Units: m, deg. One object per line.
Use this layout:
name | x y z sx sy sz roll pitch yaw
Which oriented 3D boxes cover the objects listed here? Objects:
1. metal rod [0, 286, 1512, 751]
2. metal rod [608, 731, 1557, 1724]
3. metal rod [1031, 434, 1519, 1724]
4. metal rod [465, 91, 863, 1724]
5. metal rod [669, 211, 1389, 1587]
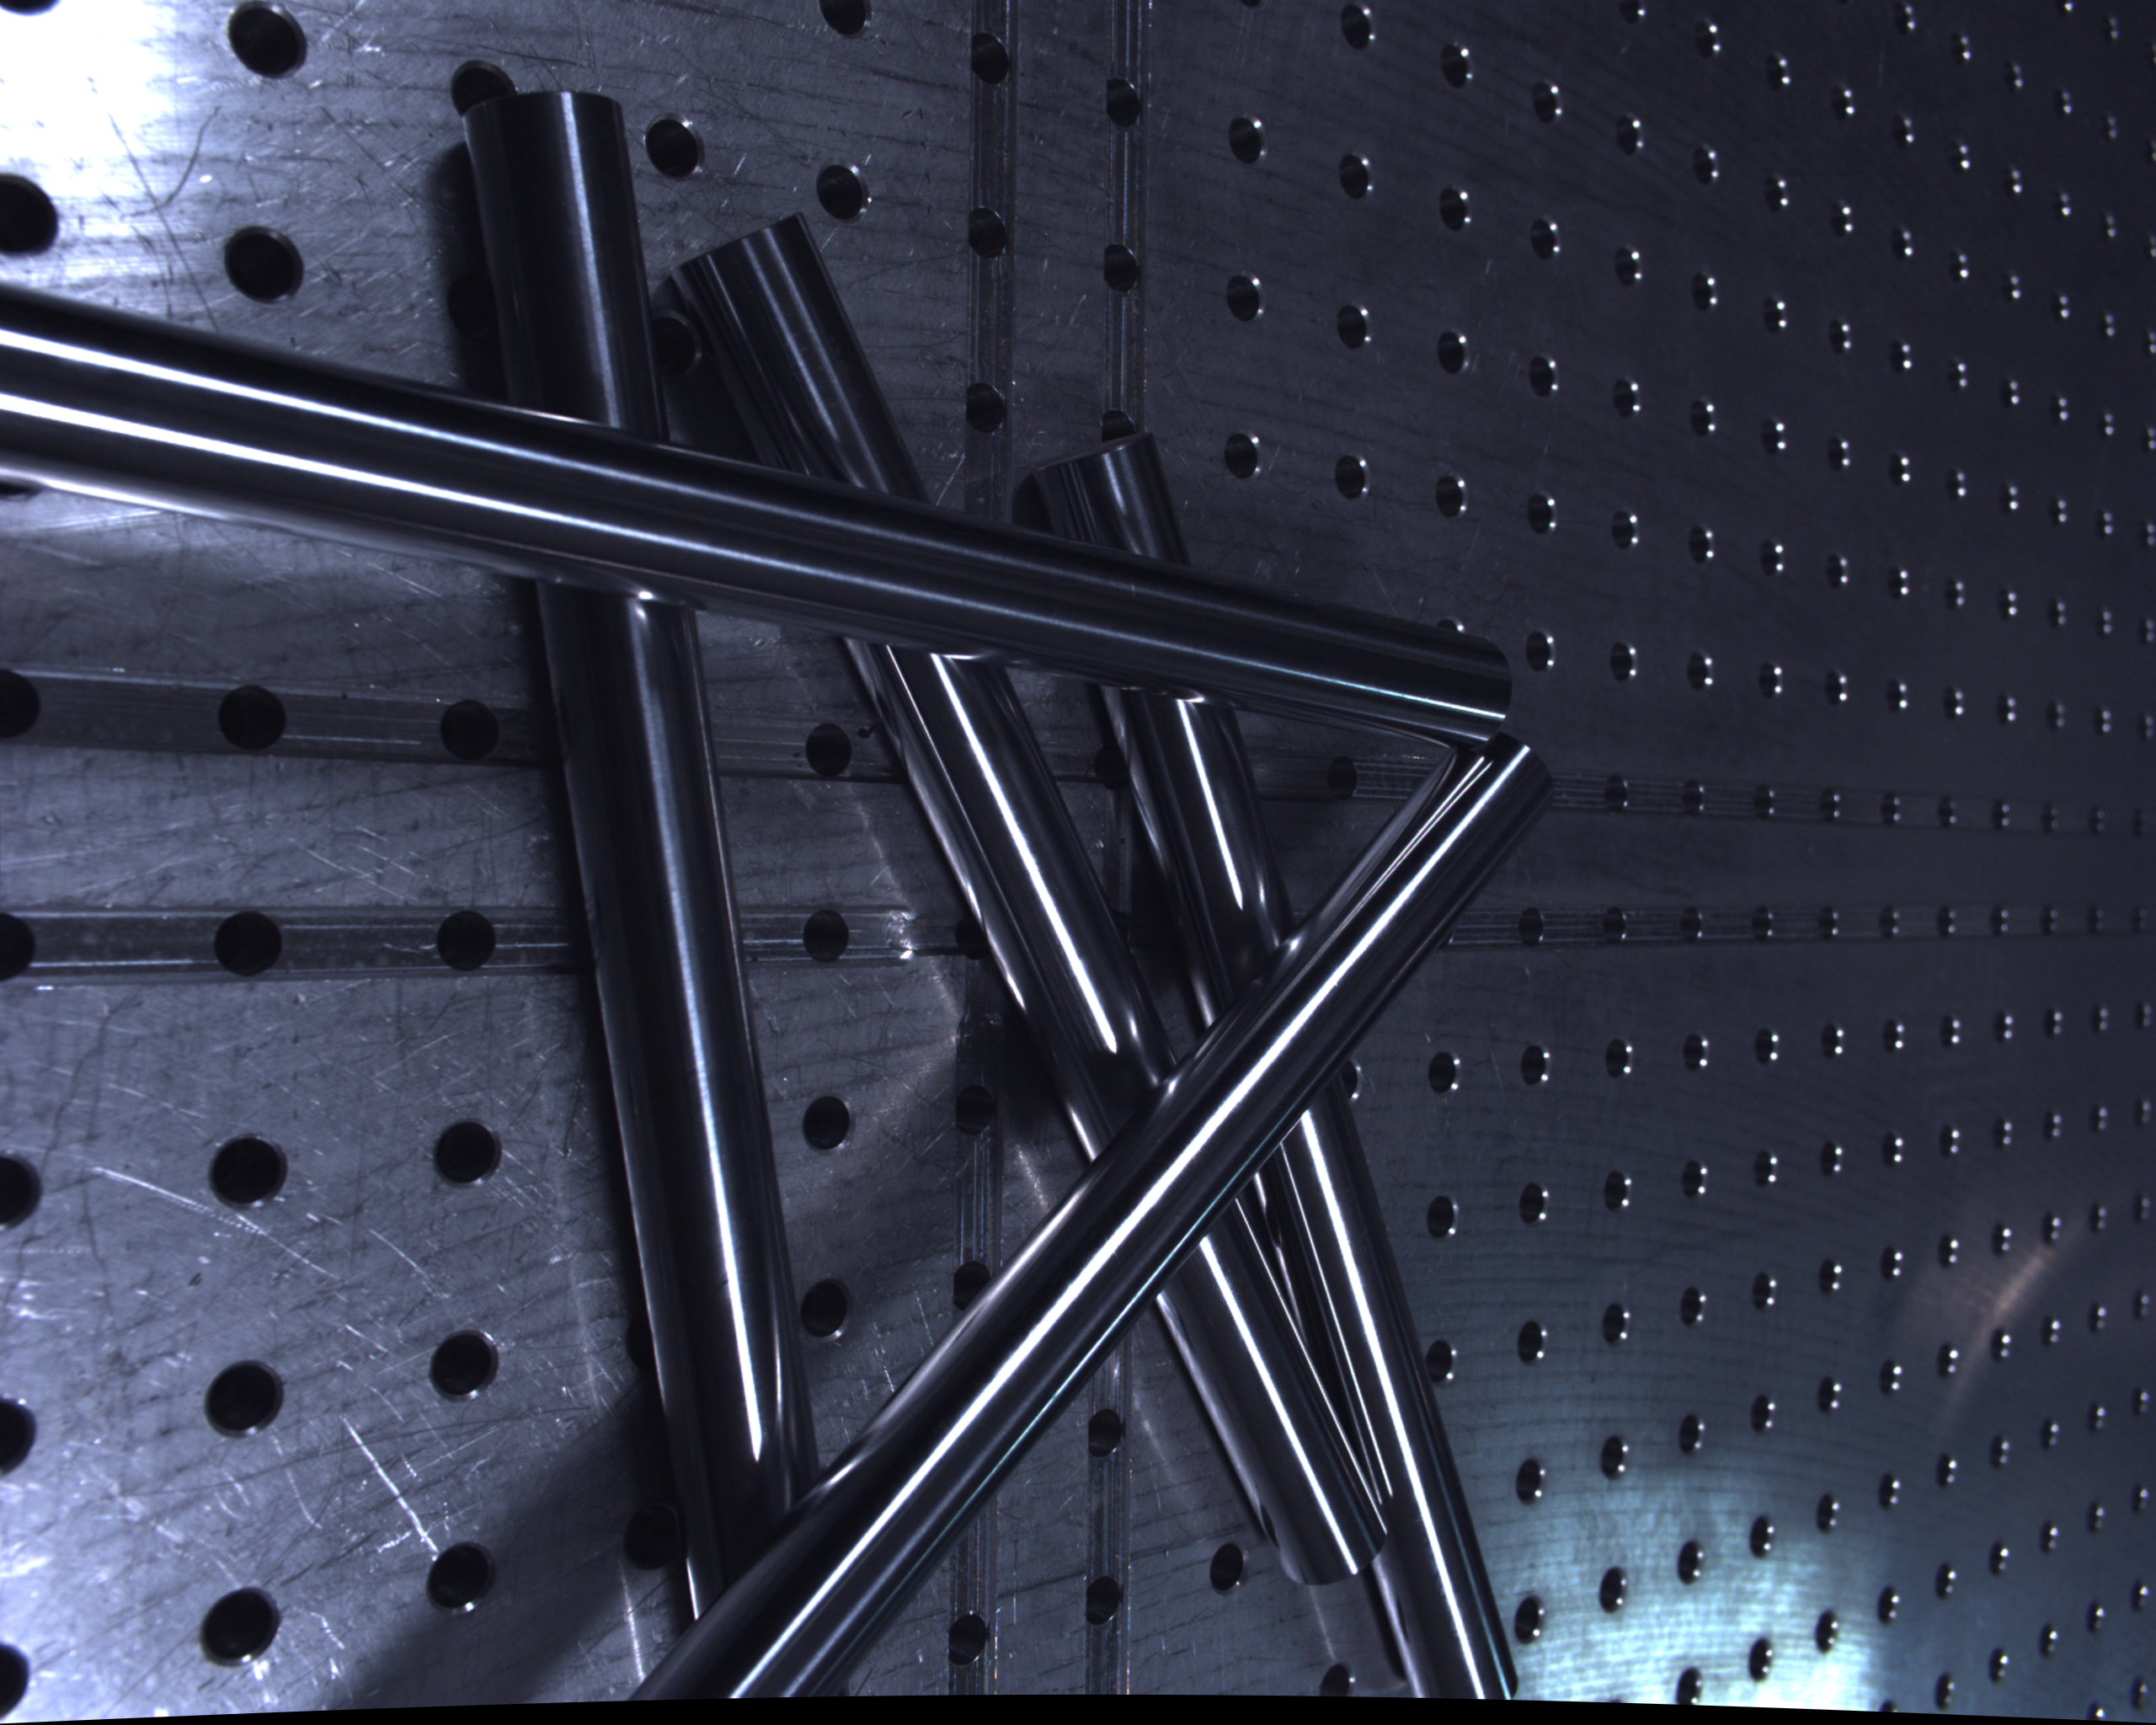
metal rod | -0.032 -0.049 0.352 0.302 0.025 0.025 6 86 -40
metal rod | 0.003 0.074 0.381 0.301 0.025 0.025 -46 118 -30
metal rod | 0.047 0.056 0.450 0.025 0.025 0.298 -29 108 -37
metal rod | -0.067 0.026 0.354 0.025 0.025 0.298 -13 98 -40
metal rod | -0.001 0.021 0.409 0.025 0.025 0.299 -38 113 -34
